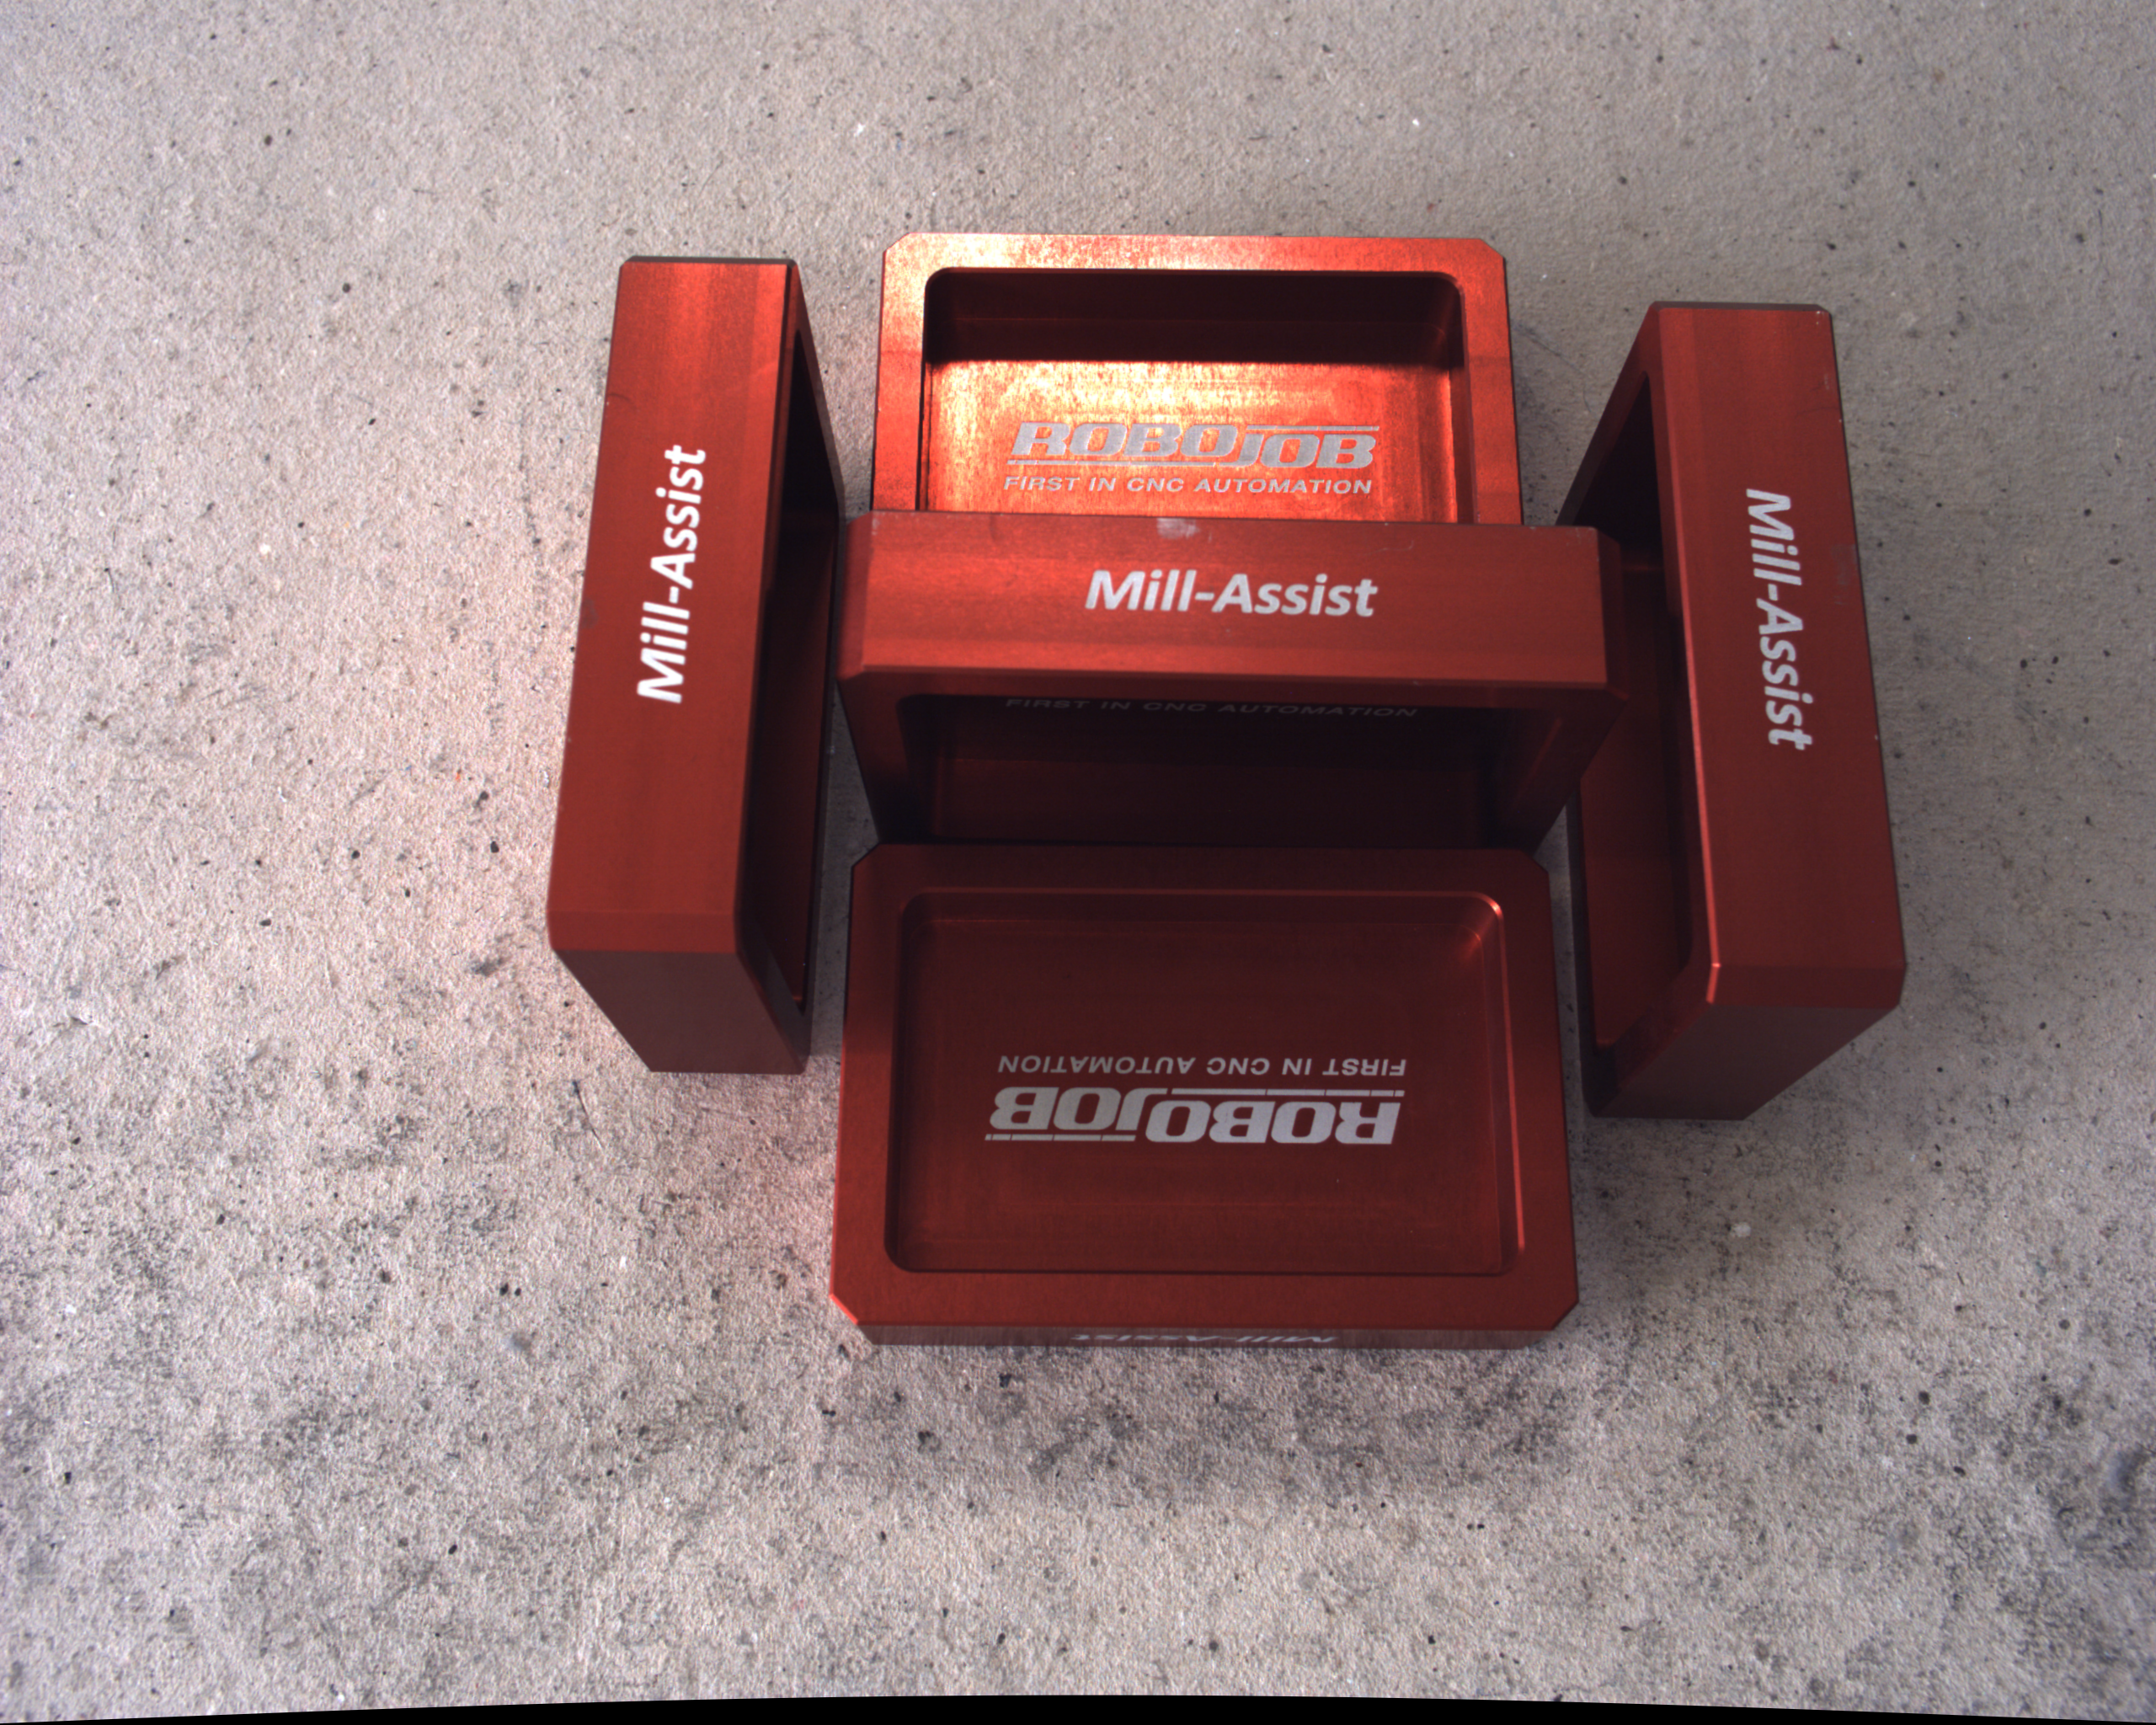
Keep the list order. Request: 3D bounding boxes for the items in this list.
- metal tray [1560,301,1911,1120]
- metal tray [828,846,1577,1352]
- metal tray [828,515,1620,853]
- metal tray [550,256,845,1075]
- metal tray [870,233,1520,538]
[{"bbox_3d":[0.115,-0.025,0.384,0.030,0.090,0.130,1,70,1],"label":"metal tray"},{"bbox_3d":[0.022,0.044,0.392,0.131,0.030,0.090,1,69,0],"label":"metal tray"},{"bbox_3d":[0.025,-0.029,0.387,0.131,0.090,0.030,1,72,0],"label":"metal tray"},{"bbox_3d":[-0.066,-0.033,0.387,0.030,0.090,0.130,1,71,0],"label":"metal tray"},{"bbox_3d":[0.024,-0.085,0.438,0.131,0.030,0.090,0,73,0],"label":"metal tray"}]
